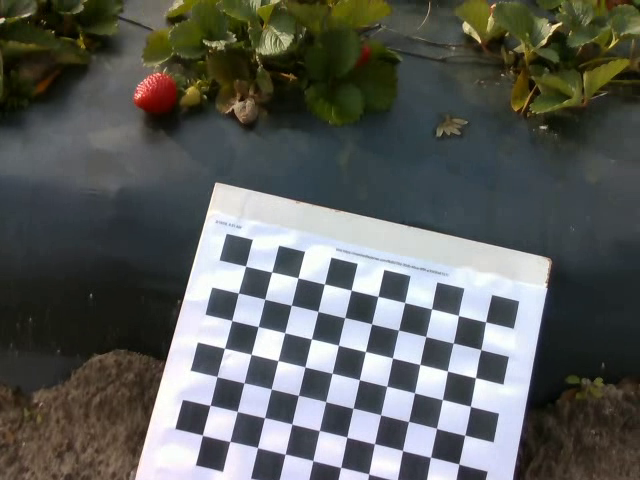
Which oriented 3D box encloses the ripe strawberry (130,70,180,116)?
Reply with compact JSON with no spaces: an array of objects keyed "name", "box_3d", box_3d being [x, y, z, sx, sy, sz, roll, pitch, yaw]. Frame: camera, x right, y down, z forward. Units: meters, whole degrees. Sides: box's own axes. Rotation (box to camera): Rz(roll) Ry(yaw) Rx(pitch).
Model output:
[{"name":"ripe strawberry","box_3d":[-0.169,-0.135,0.606,0.045,0.051,0.058,15,33,1]}]
